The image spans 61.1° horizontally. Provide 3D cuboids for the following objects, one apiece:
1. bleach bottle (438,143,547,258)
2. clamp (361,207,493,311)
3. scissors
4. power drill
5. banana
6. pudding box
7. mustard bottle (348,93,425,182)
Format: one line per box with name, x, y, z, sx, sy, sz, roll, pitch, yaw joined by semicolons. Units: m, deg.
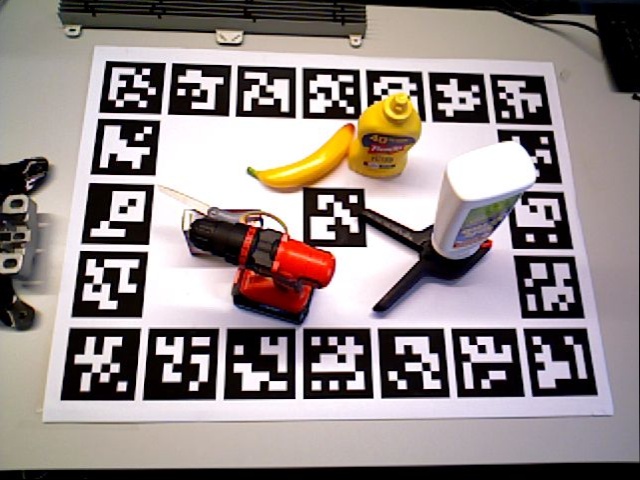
bleach bottle;0.215;-0.035;0.716;0.102;0.254;0.067;-18;69;-4
clamp;0.171;0.015;0.808;0.201;0.037;0.164;-5;74;-7
scissors;-0.144;-0.043;0.724;0.202;0.016;0.087;26;76;0
power drill;-0.075;0.040;0.688;0.184;0.190;0.056;13;63;3
banana;-0.011;-0.147;0.857;0.195;0.039;0.074;-38;61;-14
pudding box;-0.141;-0.014;0.784;0.113;0.092;0.038;5;63;-3
mustard bottle;0.102;-0.153;0.797;0.096;0.194;0.058;15;69;-1
